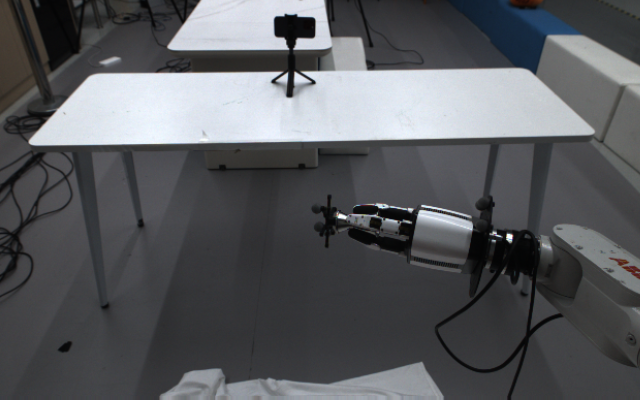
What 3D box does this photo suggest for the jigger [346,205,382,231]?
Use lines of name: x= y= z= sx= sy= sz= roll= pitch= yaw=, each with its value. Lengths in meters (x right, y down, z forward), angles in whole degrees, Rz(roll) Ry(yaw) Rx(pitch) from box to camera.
jigger: x=0.070 y=0.032 z=0.793 sx=0.071 sy=0.043 sz=0.043 roll=2 pitch=34 yaw=16
